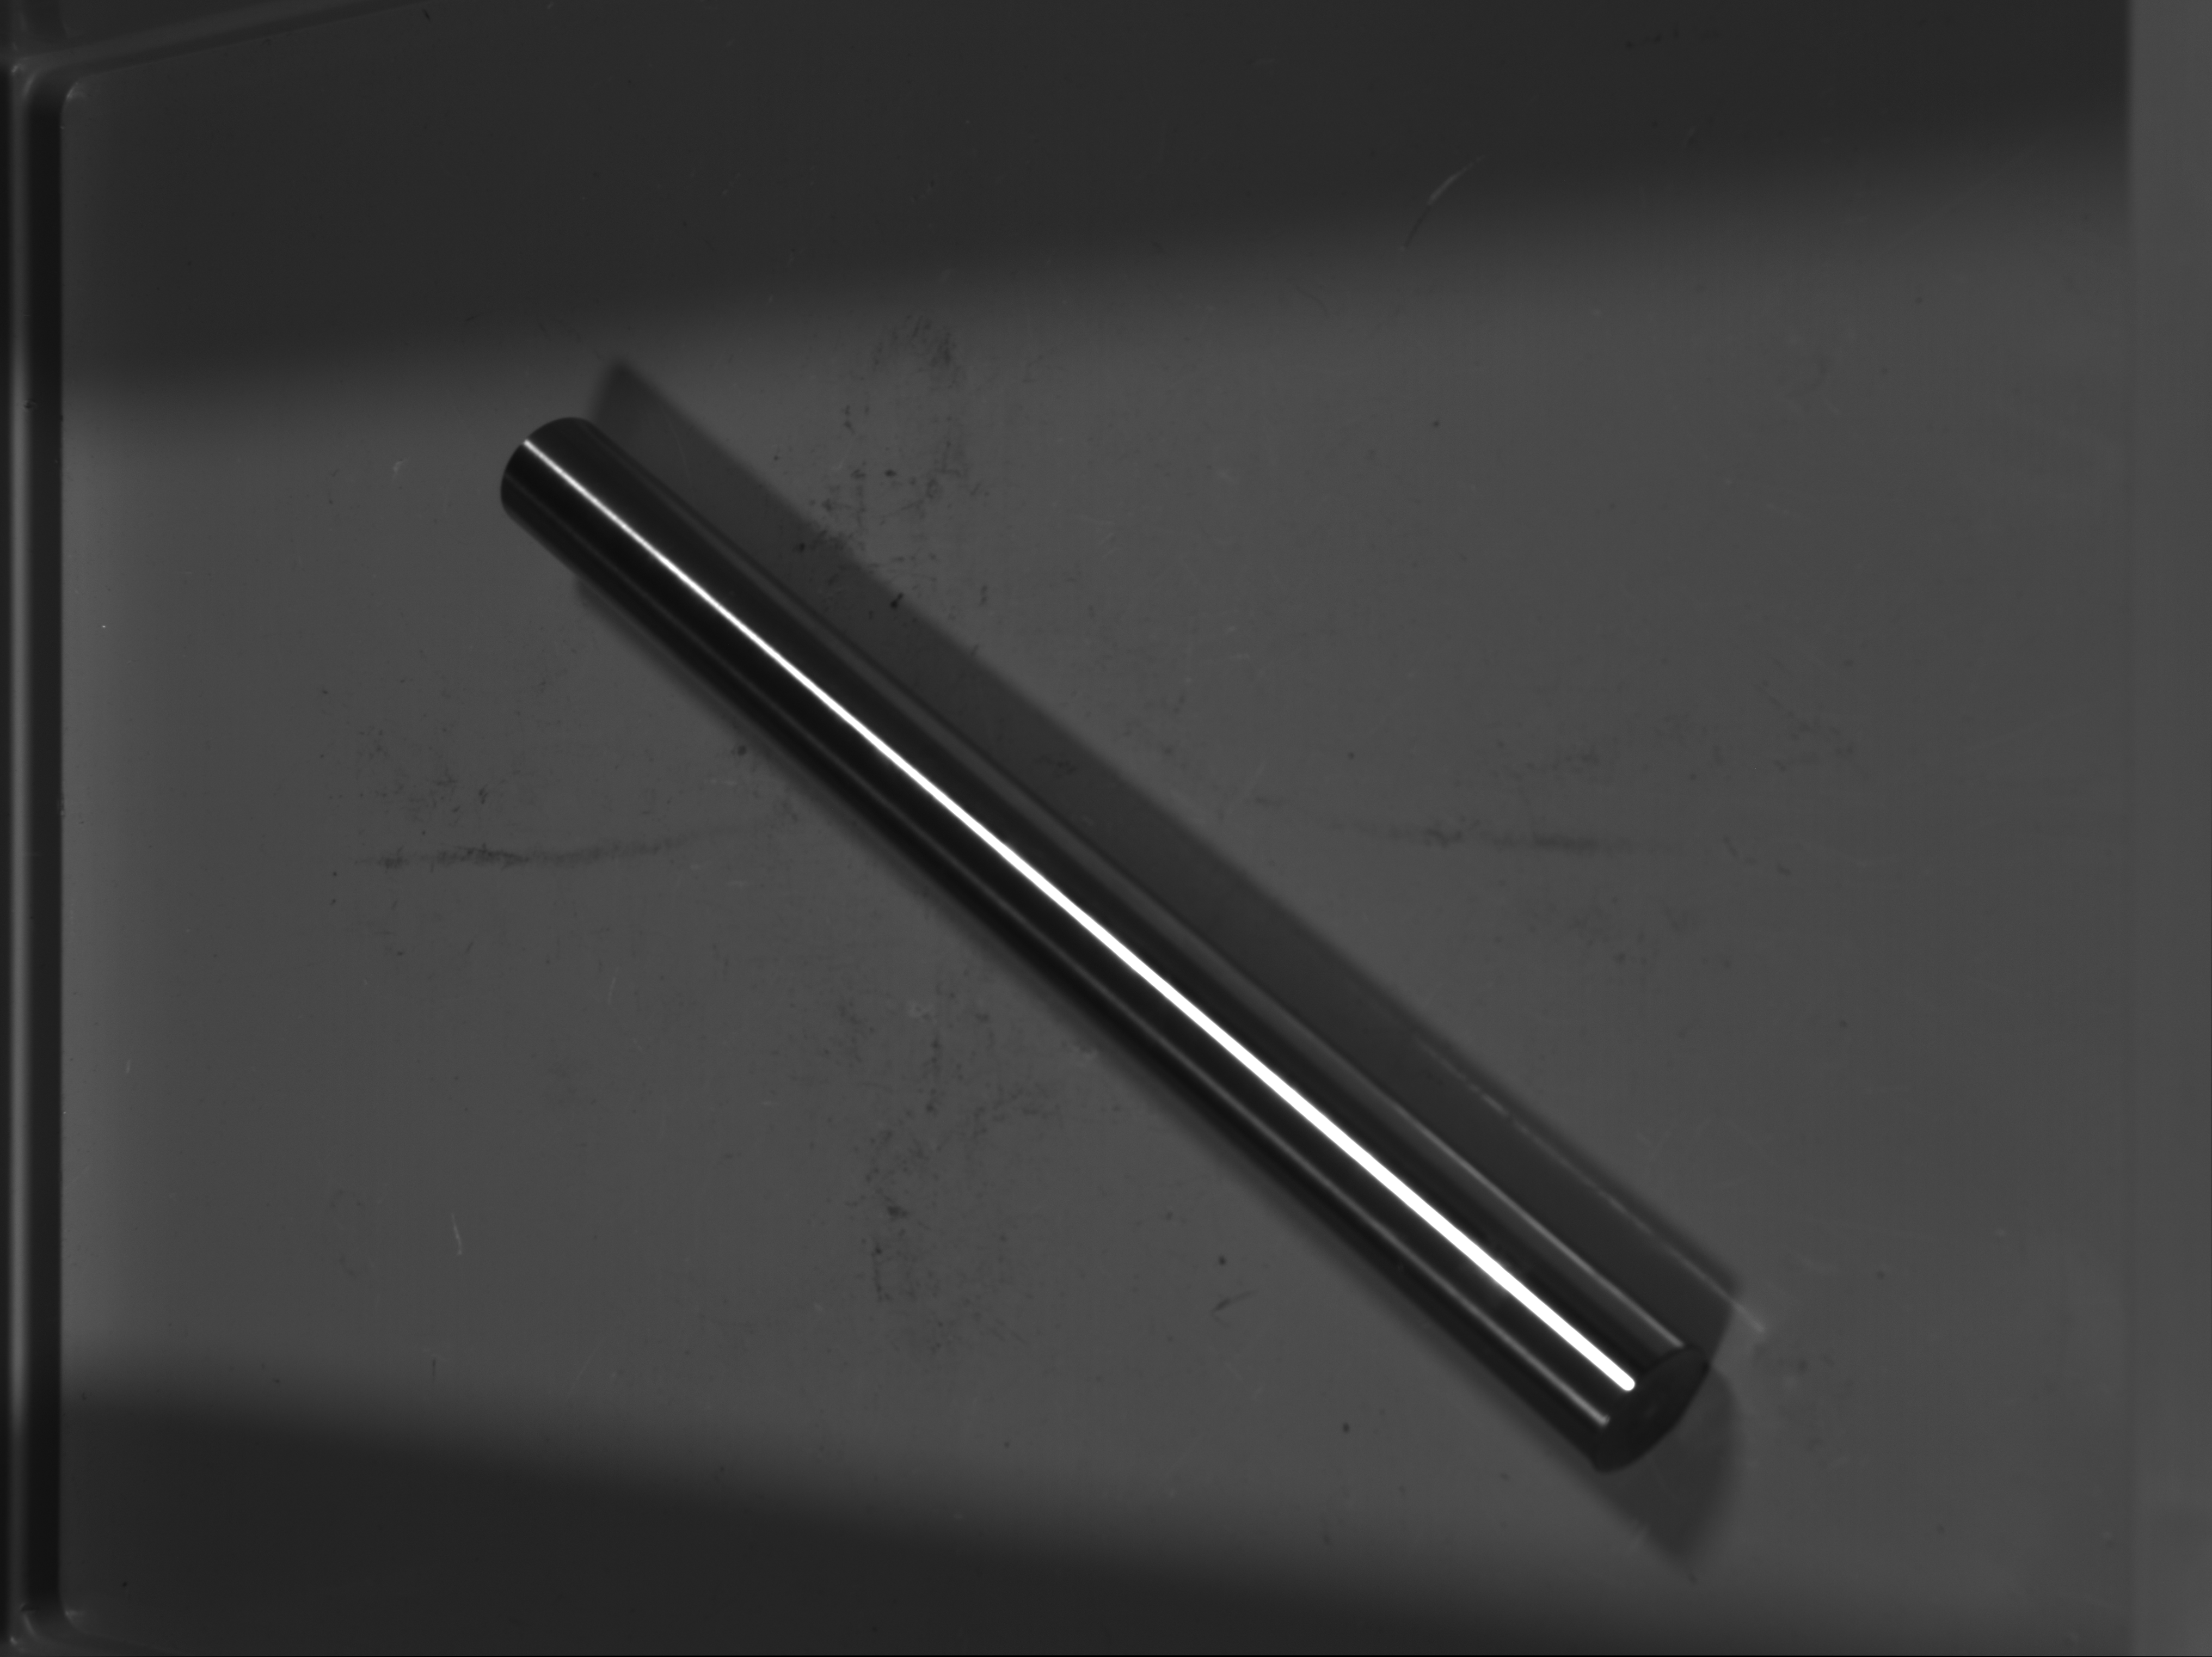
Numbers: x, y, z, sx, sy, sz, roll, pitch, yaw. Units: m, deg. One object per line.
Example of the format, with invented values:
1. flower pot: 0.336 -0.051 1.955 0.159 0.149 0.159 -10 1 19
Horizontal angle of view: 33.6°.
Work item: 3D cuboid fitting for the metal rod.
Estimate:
1. metal rod: -0.017 0.010 0.648 0.299 0.025 0.025 40 114 32
